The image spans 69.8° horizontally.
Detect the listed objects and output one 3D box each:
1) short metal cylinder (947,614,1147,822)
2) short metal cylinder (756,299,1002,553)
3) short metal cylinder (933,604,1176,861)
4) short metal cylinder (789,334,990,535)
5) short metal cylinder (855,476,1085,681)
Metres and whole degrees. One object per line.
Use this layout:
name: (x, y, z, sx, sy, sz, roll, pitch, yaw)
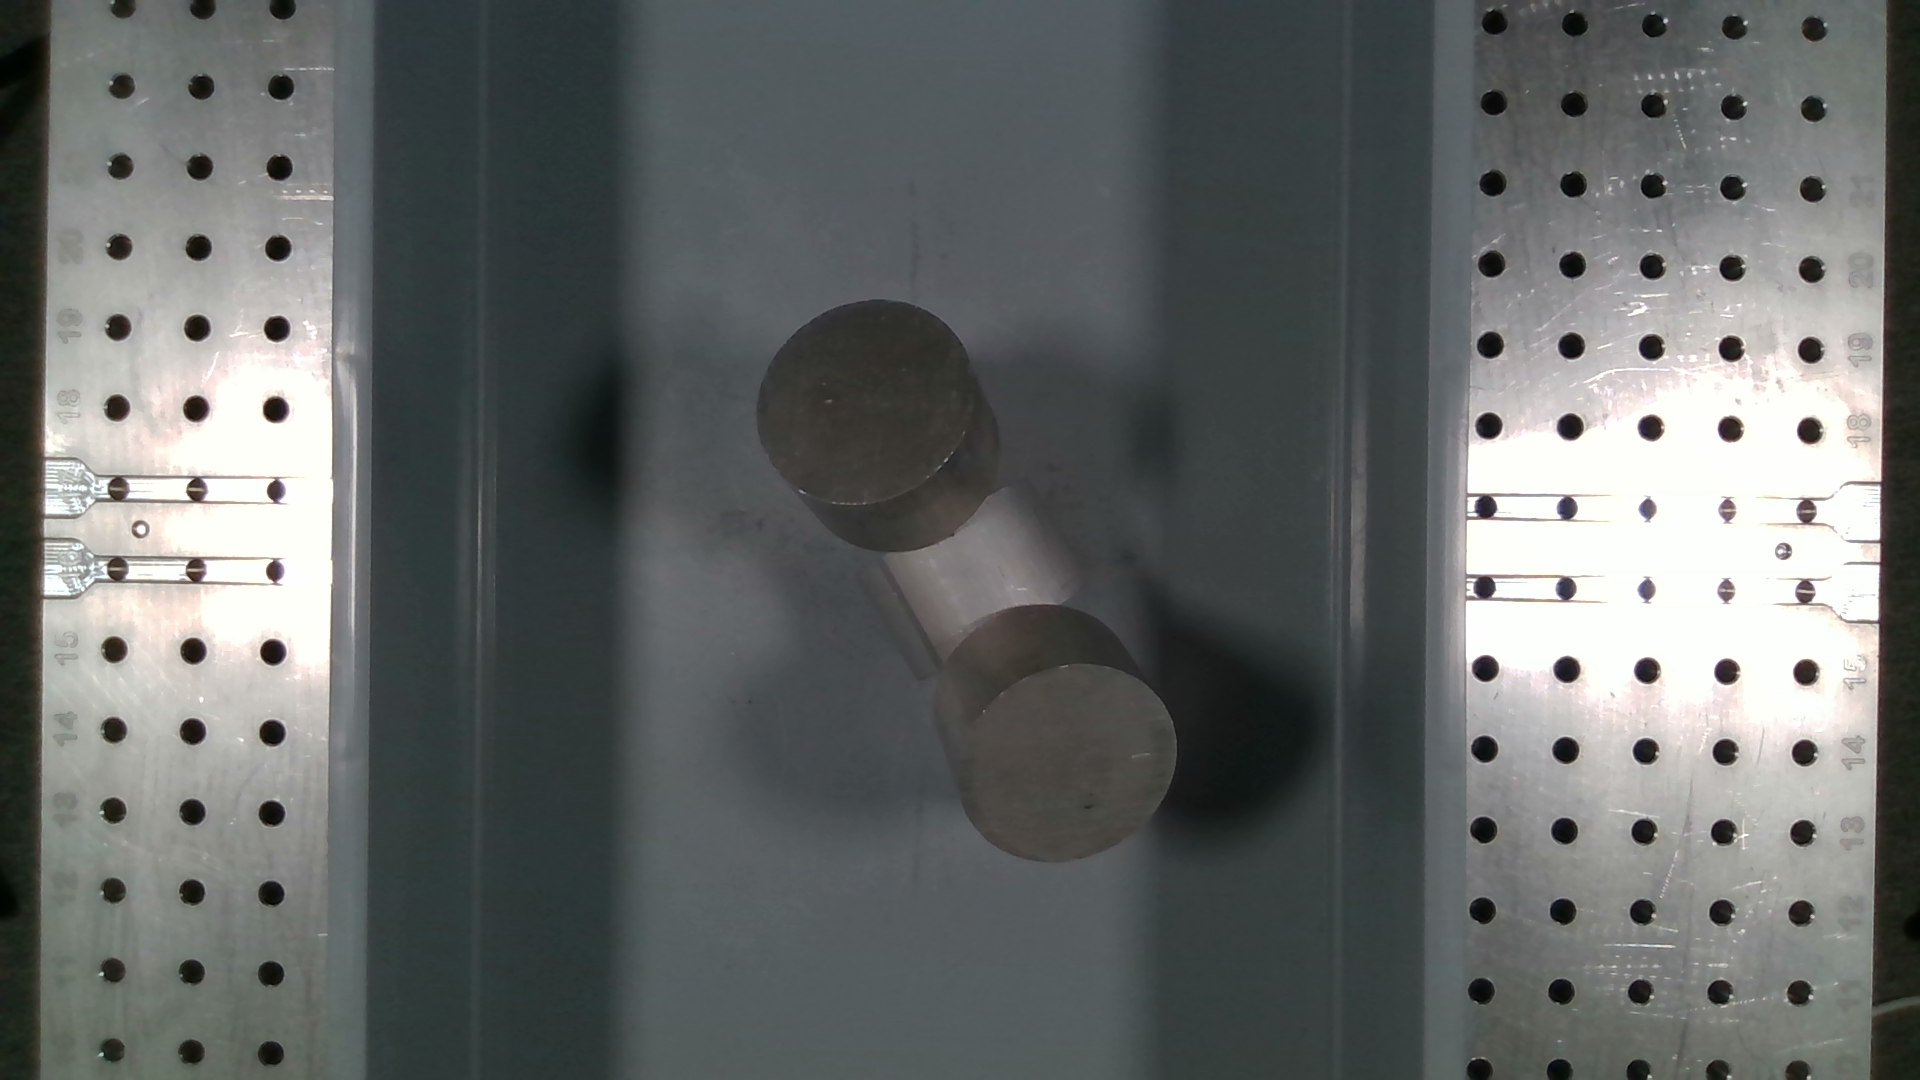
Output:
short metal cylinder: (0.035, 0.072, 0.574, 0.080, 0.050, 0.080, 0, 90, 0)
short metal cylinder: (-0.029, -0.041, 0.508, 0.080, 0.050, 0.080, -4, 70, 11)
short metal cylinder: (0.033, 0.070, 0.509, 0.080, 0.050, 0.080, -5, 113, -11)
short metal cylinder: (-0.028, -0.042, 0.573, 0.080, 0.050, 0.080, 0, 90, 0)
short metal cylinder: (0.005, 0.015, 0.558, 0.080, 0.080, 0.050, -30, 90, 0)
